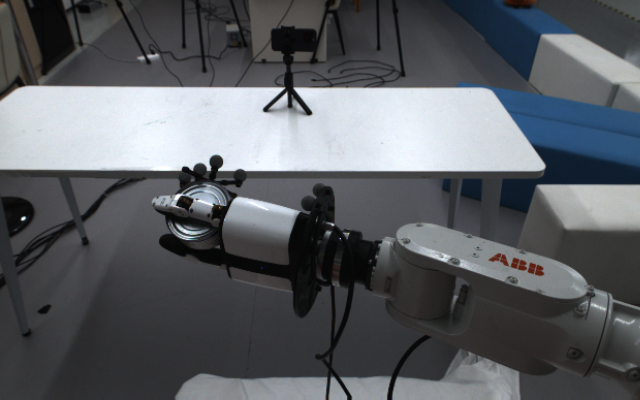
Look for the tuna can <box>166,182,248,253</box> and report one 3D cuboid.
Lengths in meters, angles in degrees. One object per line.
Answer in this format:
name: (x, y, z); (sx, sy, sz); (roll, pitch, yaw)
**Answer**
tuna can: (-0.150, 0.019, 0.617); (0.085, 0.034, 0.085); (-6, 58, 10)
